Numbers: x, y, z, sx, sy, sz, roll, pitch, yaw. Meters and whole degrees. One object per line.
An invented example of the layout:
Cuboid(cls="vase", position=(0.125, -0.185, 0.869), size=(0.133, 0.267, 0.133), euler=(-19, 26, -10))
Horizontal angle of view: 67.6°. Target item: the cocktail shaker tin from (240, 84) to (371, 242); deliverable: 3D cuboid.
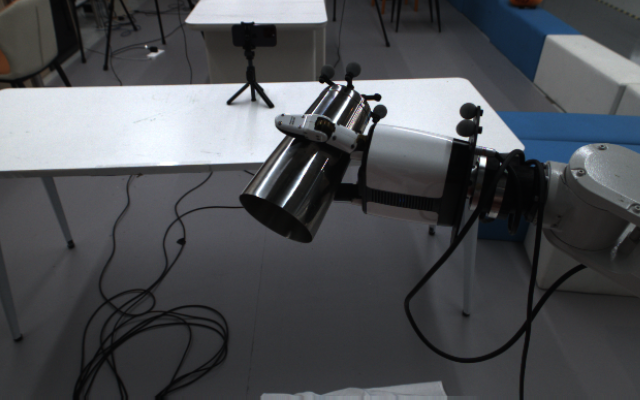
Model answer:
Cuboid(cls="cocktail shaker tin", position=(-0.005, -0.050, 0.550), size=(0.093, 0.093, 0.170), euler=(20, 67, 24))
